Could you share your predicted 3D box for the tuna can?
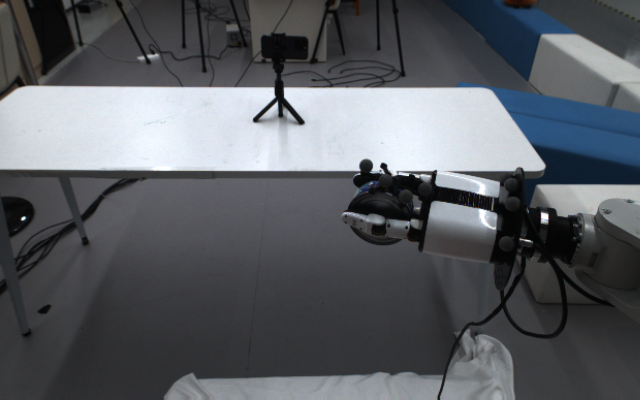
[{"bbox_3d":[0.083,0.015,0.649,0.085,0.085,0.034,12,33,14],"label":"tuna can"}]
